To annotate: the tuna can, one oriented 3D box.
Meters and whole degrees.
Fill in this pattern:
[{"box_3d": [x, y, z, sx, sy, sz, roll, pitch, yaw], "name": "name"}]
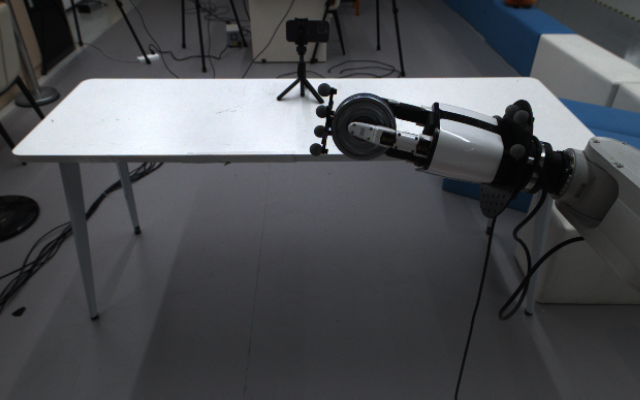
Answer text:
[{"box_3d": [0.061, -0.094, 0.638, 0.085, 0.085, 0.034, 4, 18, 3], "name": "tuna can"}]
